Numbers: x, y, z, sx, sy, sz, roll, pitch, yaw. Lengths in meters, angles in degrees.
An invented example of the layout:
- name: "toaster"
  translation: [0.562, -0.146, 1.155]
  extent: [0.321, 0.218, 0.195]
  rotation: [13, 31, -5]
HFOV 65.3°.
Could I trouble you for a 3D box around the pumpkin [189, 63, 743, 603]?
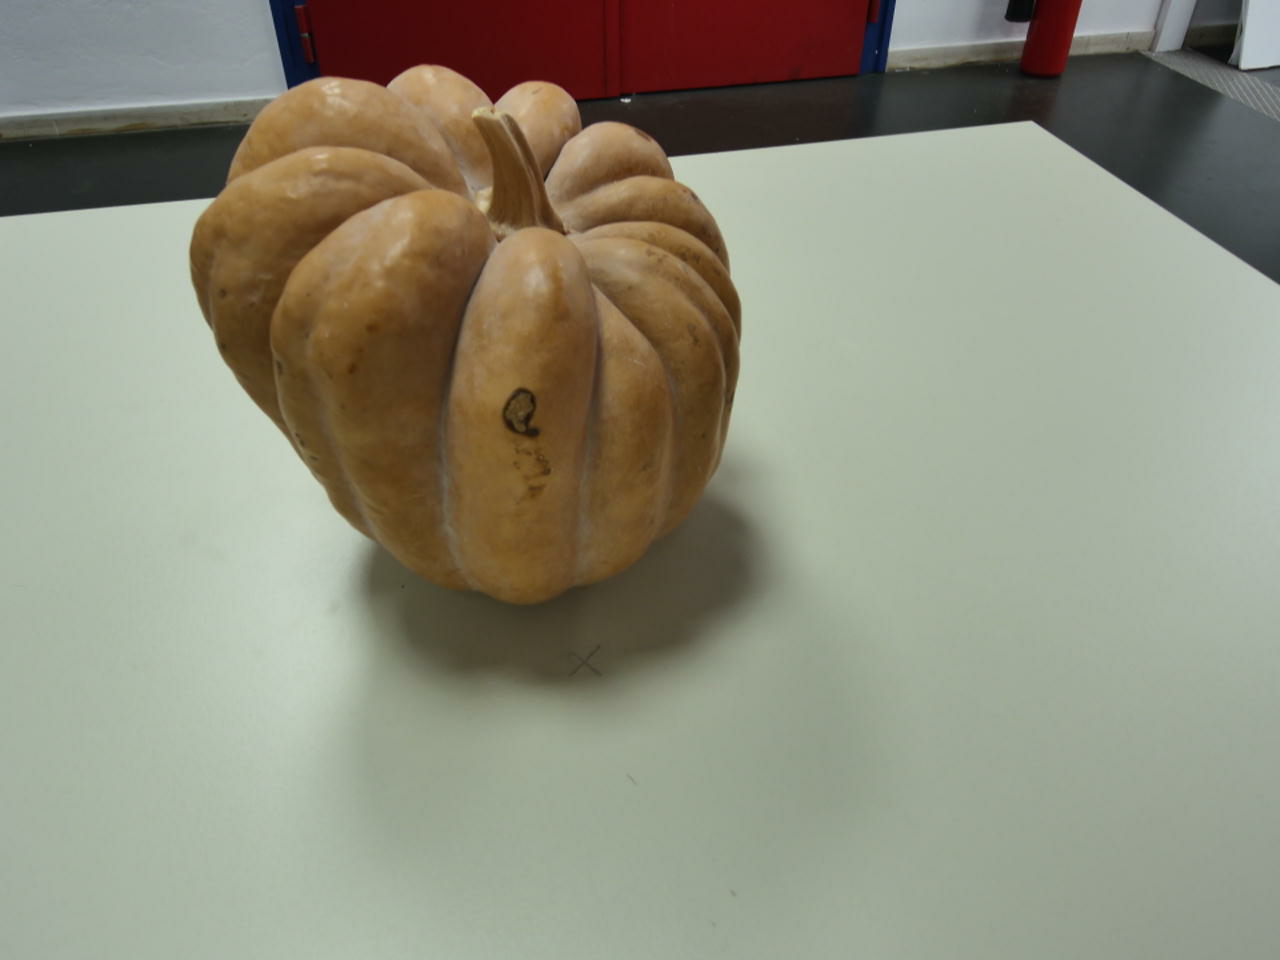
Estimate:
- name: "pumpkin"
  translation: [-0.055, -0.052, 0.370]
  extent: [0.199, 0.177, 0.198]
  rotation: [0, 38, 0]
